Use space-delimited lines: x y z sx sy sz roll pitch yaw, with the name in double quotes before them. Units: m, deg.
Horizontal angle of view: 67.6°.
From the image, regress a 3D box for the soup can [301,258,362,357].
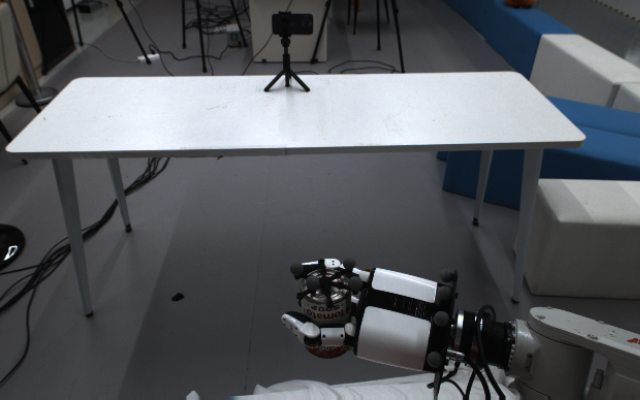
"soup can" 0.011 0.151 0.645 0.067 0.101 0.067 -2 32 1
